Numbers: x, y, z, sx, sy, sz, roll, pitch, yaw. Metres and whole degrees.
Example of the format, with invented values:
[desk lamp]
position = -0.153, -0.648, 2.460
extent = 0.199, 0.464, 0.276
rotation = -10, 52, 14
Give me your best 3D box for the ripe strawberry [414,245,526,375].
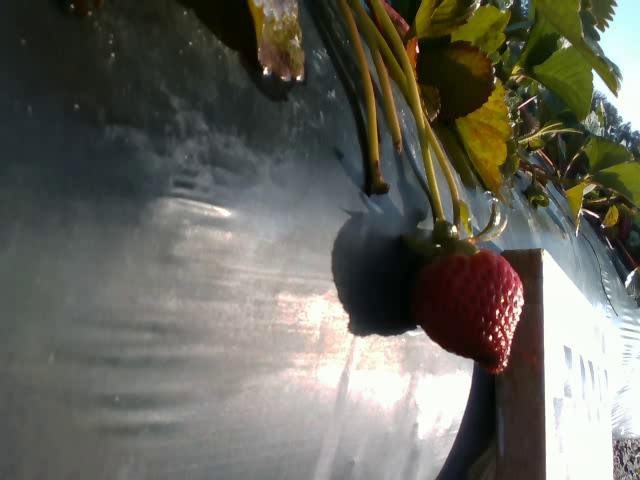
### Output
[ripe strawberry]
position = 0.047, 0.022, 0.184
extent = 0.037, 0.044, 0.040
rotation = -18, -4, 31
